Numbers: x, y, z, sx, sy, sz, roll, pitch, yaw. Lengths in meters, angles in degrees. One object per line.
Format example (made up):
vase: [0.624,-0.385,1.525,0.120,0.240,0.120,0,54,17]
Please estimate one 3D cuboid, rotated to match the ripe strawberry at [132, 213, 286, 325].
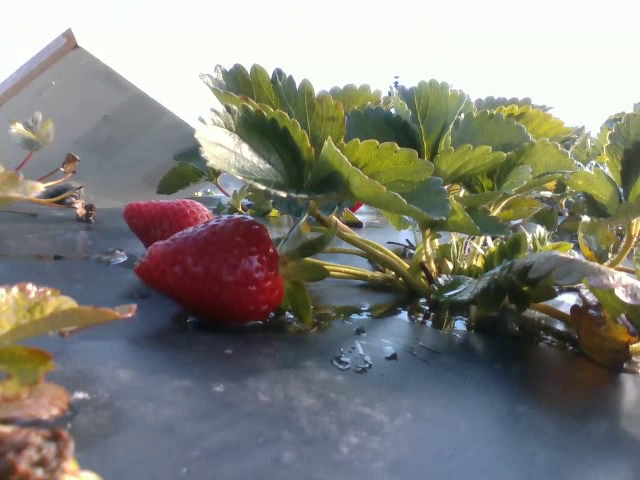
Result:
ripe strawberry: [-0.046,0.010,0.239,0.064,0.050,0.049,-11,-27,-34]
